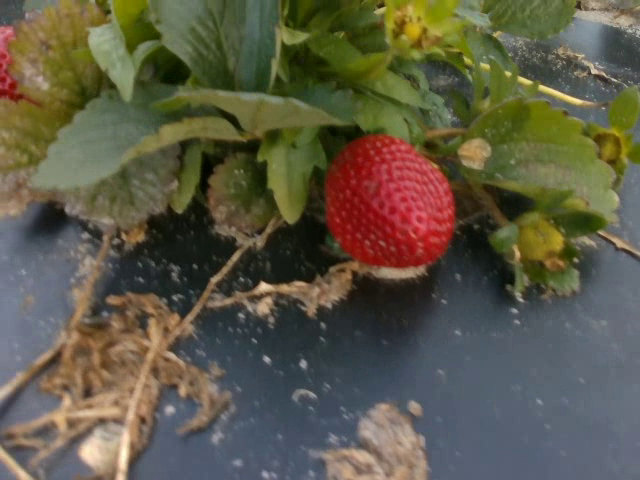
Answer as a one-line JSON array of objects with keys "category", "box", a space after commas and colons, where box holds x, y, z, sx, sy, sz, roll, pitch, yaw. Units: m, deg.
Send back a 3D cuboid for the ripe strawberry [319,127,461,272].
[{"category": "ripe strawberry", "box": [0.023, -0.010, 0.178, 0.043, 0.047, 0.046, -28, 31, 0]}]
